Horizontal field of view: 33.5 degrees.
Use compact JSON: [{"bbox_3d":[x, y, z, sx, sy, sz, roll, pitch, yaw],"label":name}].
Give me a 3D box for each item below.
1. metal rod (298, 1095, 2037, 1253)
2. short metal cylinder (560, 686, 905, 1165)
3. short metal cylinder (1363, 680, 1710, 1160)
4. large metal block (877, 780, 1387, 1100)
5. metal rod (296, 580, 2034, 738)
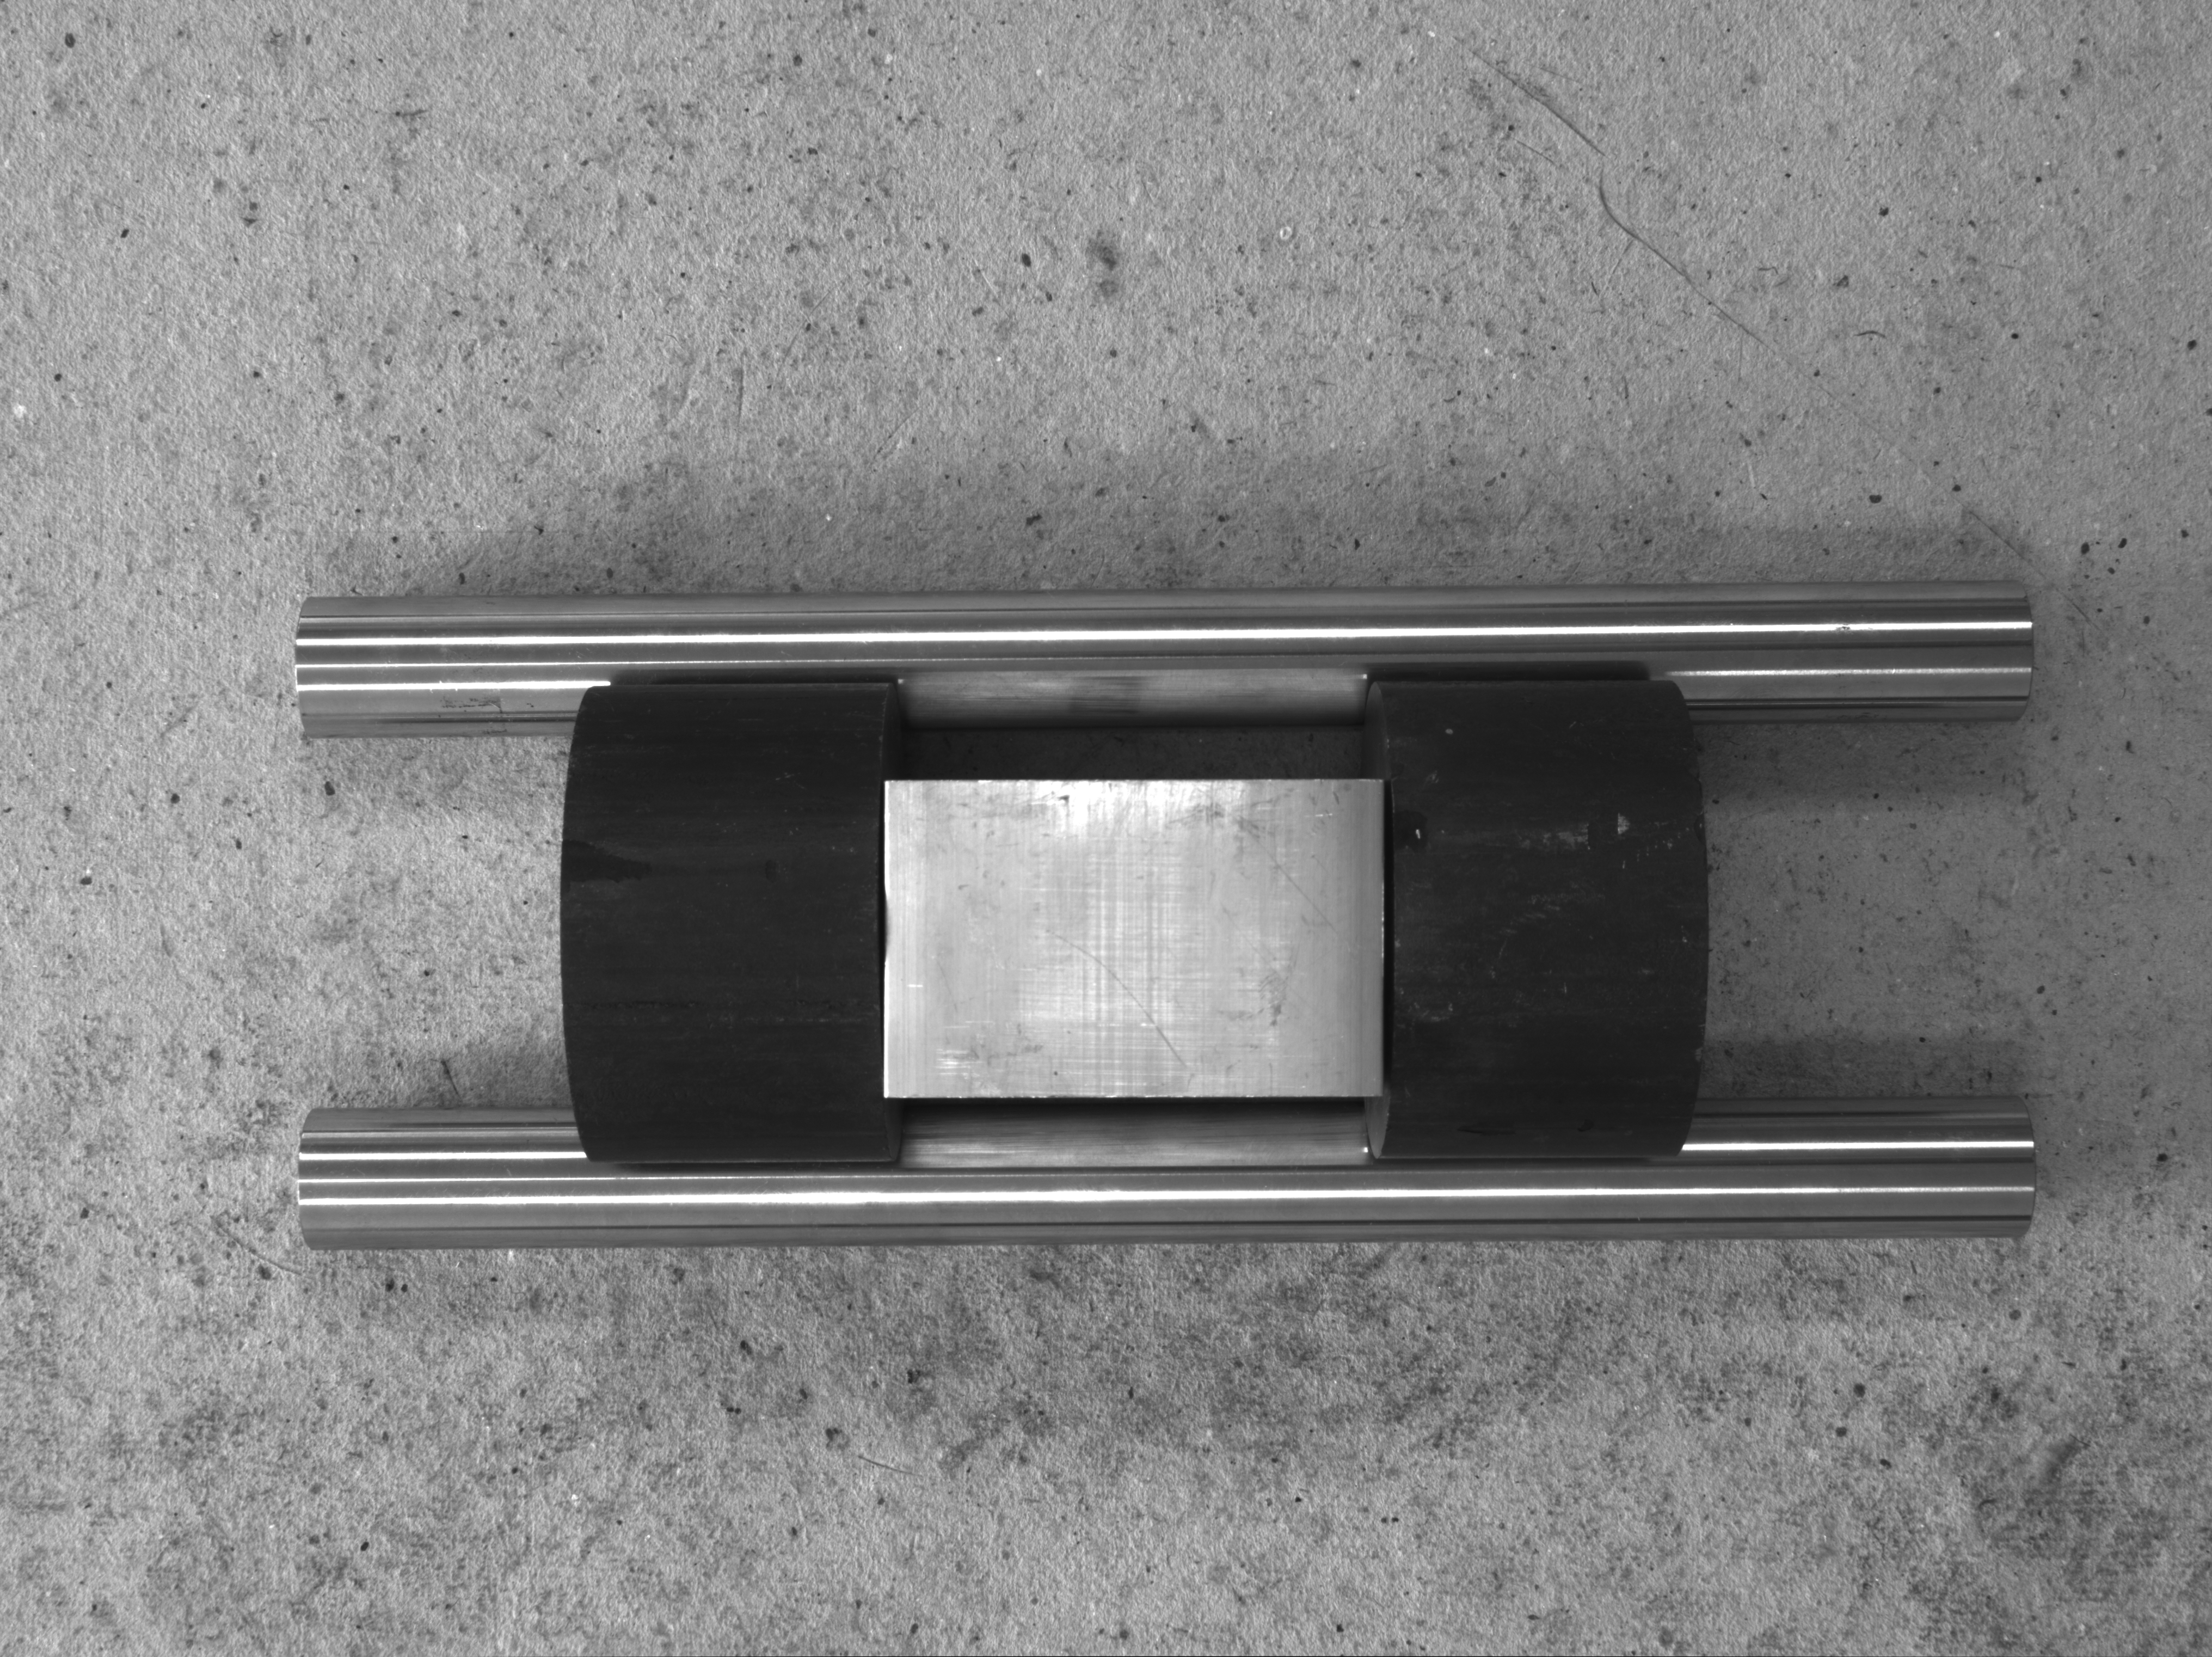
[{"bbox_3d":[0.011,0.061,0.646,0.300,0.025,0.025,-1,90,0],"label":"metal rod"},{"bbox_3d":[-0.061,0.016,0.618,0.050,0.080,0.080,-1,90,0],"label":"short metal cylinder"},{"bbox_3d":[0.070,0.015,0.618,0.050,0.080,0.080,-1,90,0],"label":"short metal cylinder"},{"bbox_3d":[0.004,0.018,0.616,0.080,0.080,0.050,0,90,0],"label":"large metal block"},{"bbox_3d":[0.010,-0.030,0.646,0.300,0.025,0.025,-1,90,0],"label":"metal rod"}]
